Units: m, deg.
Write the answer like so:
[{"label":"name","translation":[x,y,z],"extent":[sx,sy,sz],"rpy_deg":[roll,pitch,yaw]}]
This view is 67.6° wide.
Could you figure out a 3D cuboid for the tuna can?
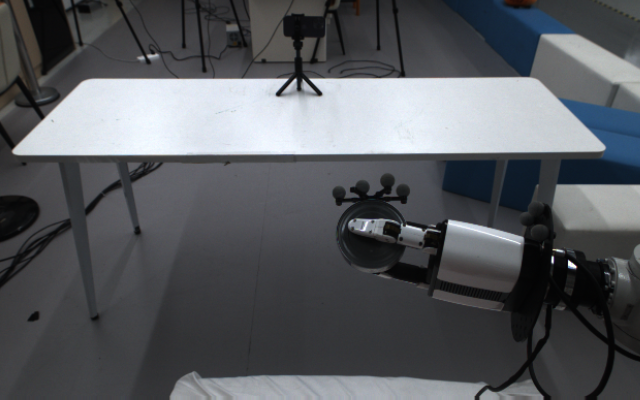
[{"label":"tuna can","translation":[0.065,0.042,0.587],"extent":[0.085,0.034,0.085],"rpy_deg":[-3,68,7]}]
